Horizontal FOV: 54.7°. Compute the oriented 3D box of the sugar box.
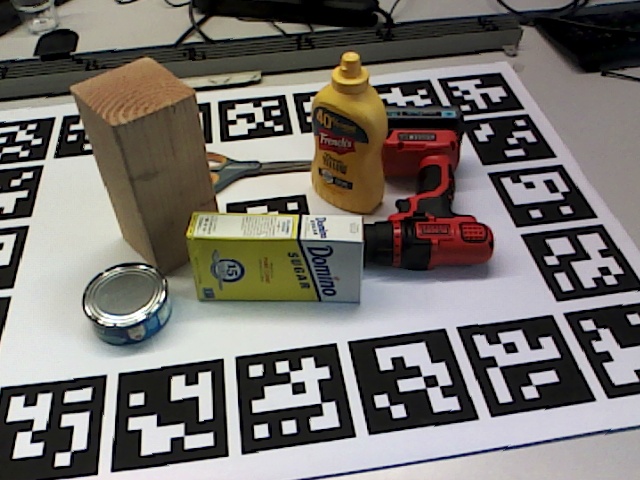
[{"bbox_3d":[-0.037,0.018,0.648,0.176,0.092,0.045,2,44,2],"label":"sugar box"}]

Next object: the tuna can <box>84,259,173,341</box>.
[{"bbox_3d":[-0.199,0.062,0.646,0.086,0.033,0.086,-1,48,0],"label":"tuna can"}]

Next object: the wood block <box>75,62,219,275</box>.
[{"bbox_3d":[-0.177,-0.071,0.669,0.090,0.205,0.090,-31,55,-24],"label":"wood block"}]

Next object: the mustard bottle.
[{"bbox_3d":[0.034,-0.123,0.719,0.097,0.191,0.058,32,56,26],"label":"mustard bottle"}]

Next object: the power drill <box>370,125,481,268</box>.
[{"bbox_3d":[0.090,-0.053,0.731,0.185,0.057,0.187,2,54,4],"label":"power drill"}]

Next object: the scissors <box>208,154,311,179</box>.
[{"bbox_3d":[-0.112,-0.096,0.806,0.202,0.016,0.088,-6,43,-4],"label":"scissors"}]
